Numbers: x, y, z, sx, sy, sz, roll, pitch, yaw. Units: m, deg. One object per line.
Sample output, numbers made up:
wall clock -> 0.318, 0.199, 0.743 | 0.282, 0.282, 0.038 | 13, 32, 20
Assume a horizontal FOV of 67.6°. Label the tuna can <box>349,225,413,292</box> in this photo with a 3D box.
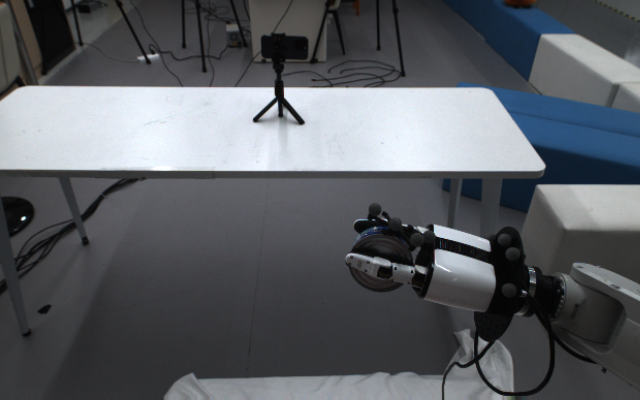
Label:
tuna can -> 0.086, 0.078, 0.658 | 0.085, 0.085, 0.034 | 7, 17, 7
